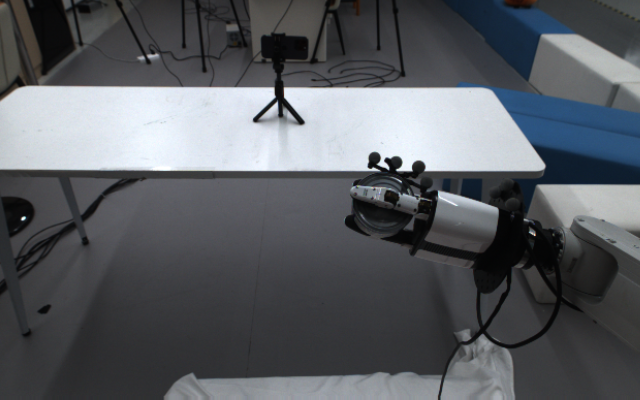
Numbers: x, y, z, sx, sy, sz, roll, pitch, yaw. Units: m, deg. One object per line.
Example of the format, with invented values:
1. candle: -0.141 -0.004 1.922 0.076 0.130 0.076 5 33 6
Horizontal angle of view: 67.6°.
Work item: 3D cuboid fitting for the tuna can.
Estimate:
1. tuna can: 0.087 0.005 0.662 0.085 0.034 0.085 0 72 0
